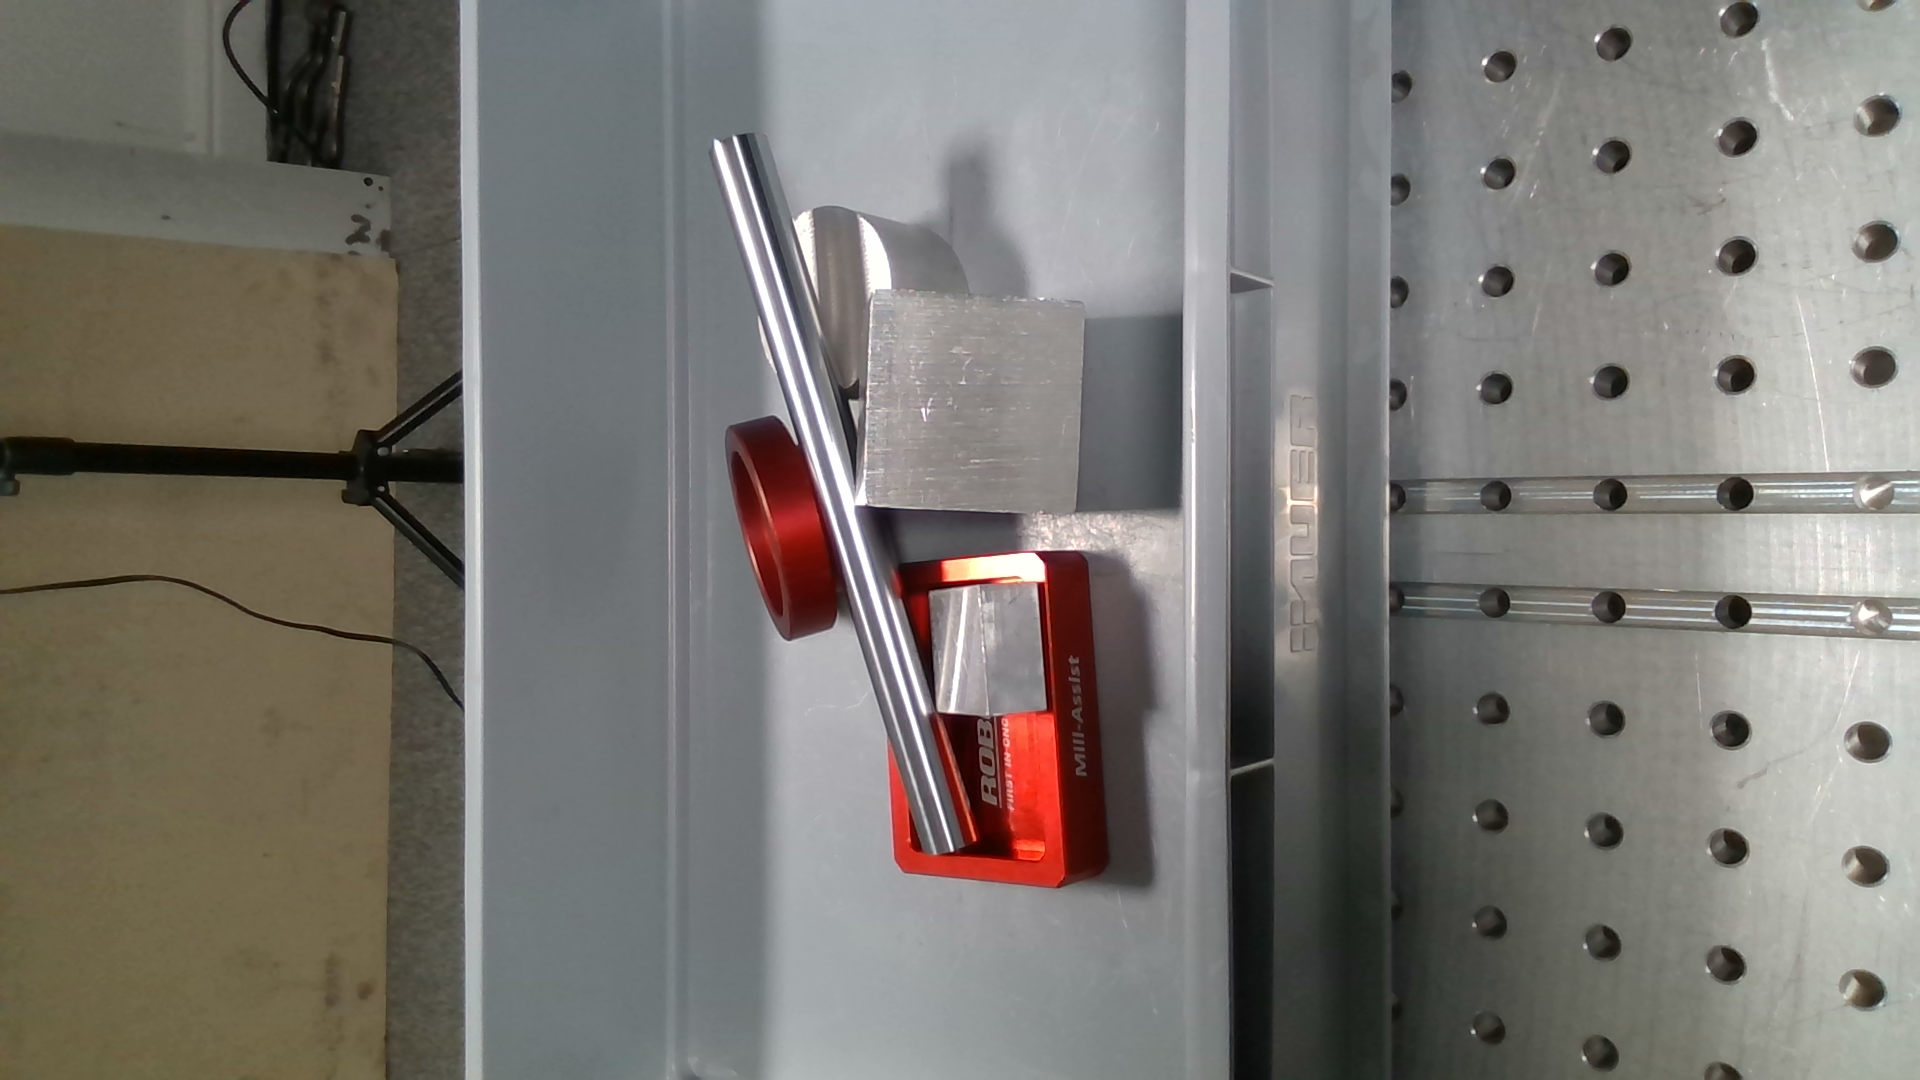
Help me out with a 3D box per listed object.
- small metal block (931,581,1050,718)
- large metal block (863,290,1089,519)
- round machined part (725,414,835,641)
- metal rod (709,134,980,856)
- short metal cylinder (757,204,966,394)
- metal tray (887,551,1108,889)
[{"bbox_3d":[0.011,0.043,0.543,0.050,0.025,0.050,169,98,-66],"label":"small metal block"},{"bbox_3d":[0.003,-0.050,0.532,0.050,0.080,0.080,-167,80,-82],"label":"large metal block"},{"bbox_3d":[-0.070,-0.008,0.608,0.098,0.042,0.098,164,91,-74],"label":"round machined part"},{"bbox_3d":[-0.047,-0.018,0.566,0.025,0.025,0.300,-16,91,39],"label":"metal rod"},{"bbox_3d":[-0.043,-0.101,0.598,0.080,0.050,0.080,0,91,40],"label":"short metal cylinder"},{"bbox_3d":[0.011,0.072,0.568,0.090,0.030,0.130,-6,87,40],"label":"metal tray"}]
